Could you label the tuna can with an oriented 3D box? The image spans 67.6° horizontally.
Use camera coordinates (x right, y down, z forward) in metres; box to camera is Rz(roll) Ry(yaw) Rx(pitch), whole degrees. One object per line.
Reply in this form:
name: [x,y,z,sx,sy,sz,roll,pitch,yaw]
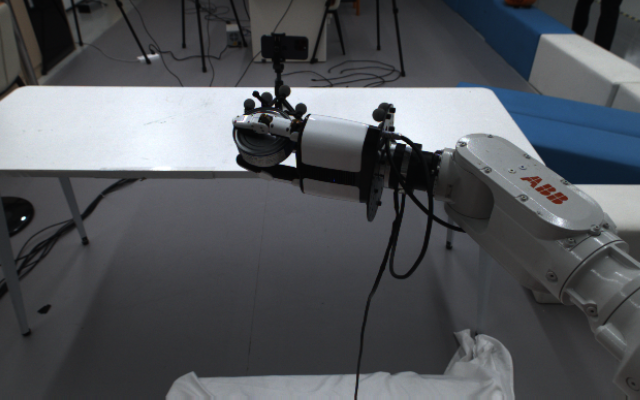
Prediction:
tuna can: [-0.079,-0.091,0.689,0.085,0.034,0.085,-3,57,4]
